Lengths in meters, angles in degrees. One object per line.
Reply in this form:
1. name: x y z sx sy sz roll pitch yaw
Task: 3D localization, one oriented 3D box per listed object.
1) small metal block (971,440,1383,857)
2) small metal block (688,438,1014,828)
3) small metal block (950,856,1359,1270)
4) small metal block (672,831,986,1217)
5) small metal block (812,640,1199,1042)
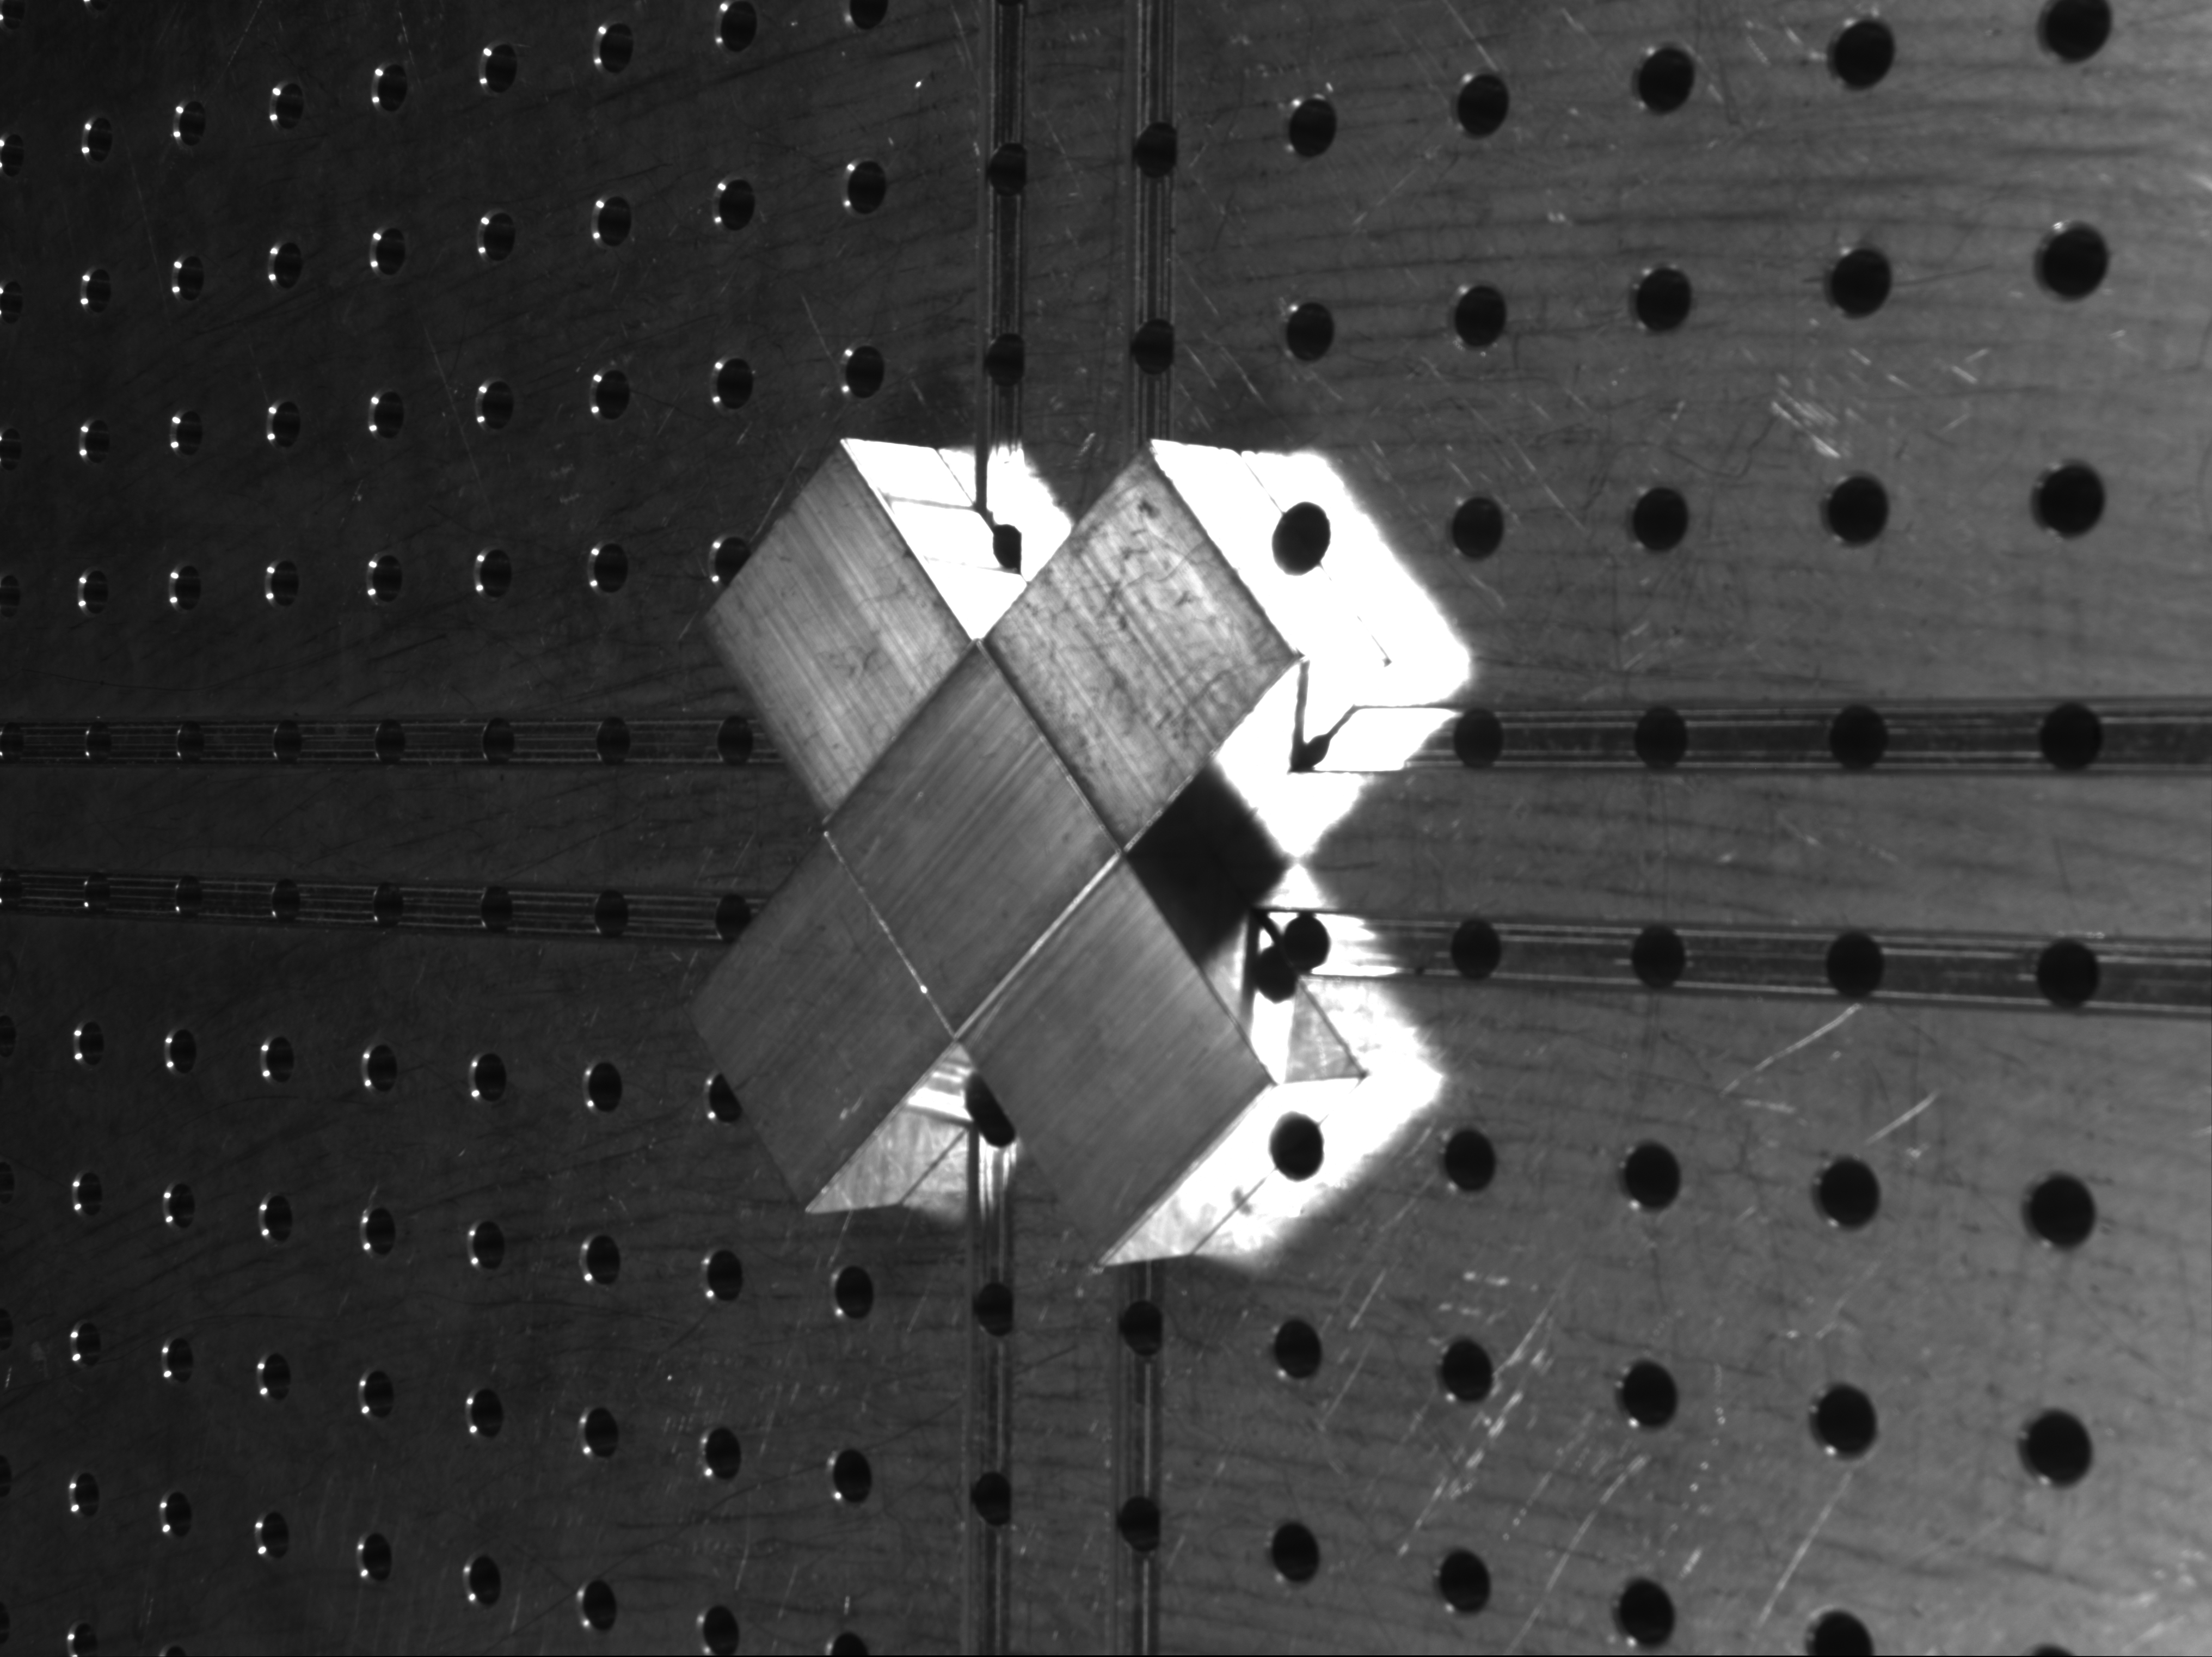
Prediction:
1. small metal block: 0.012 -0.030 0.629 0.050 0.025 0.050 -49 62 28
2. small metal block: -0.043 -0.035 0.675 0.050 0.025 0.050 -48 62 28
3. small metal block: 0.008 0.040 0.633 0.050 0.025 0.050 -48 62 28
4. small metal block: -0.047 0.036 0.678 0.050 0.025 0.050 -49 62 28
5. small metal block: -0.018 0.002 0.653 0.050 0.025 0.050 -49 62 28
